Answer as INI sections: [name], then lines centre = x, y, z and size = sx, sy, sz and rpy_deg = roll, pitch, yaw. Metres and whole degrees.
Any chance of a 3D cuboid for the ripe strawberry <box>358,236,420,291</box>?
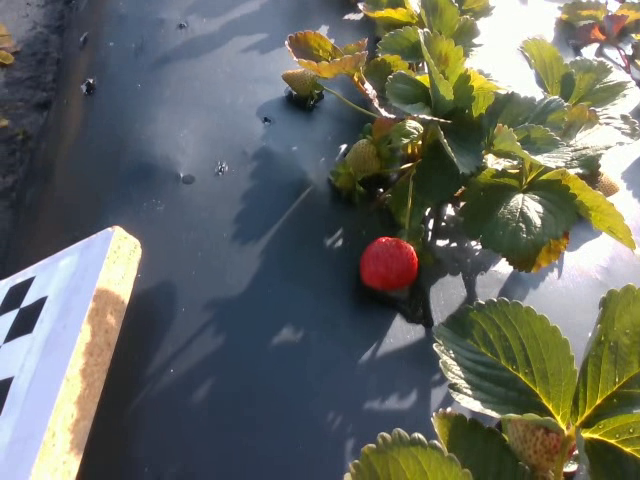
[ripe strawberry]
centre = 0.035, 0.016, 0.319
size = 0.030, 0.033, 0.044
rpy_deg = 3, 26, 47
